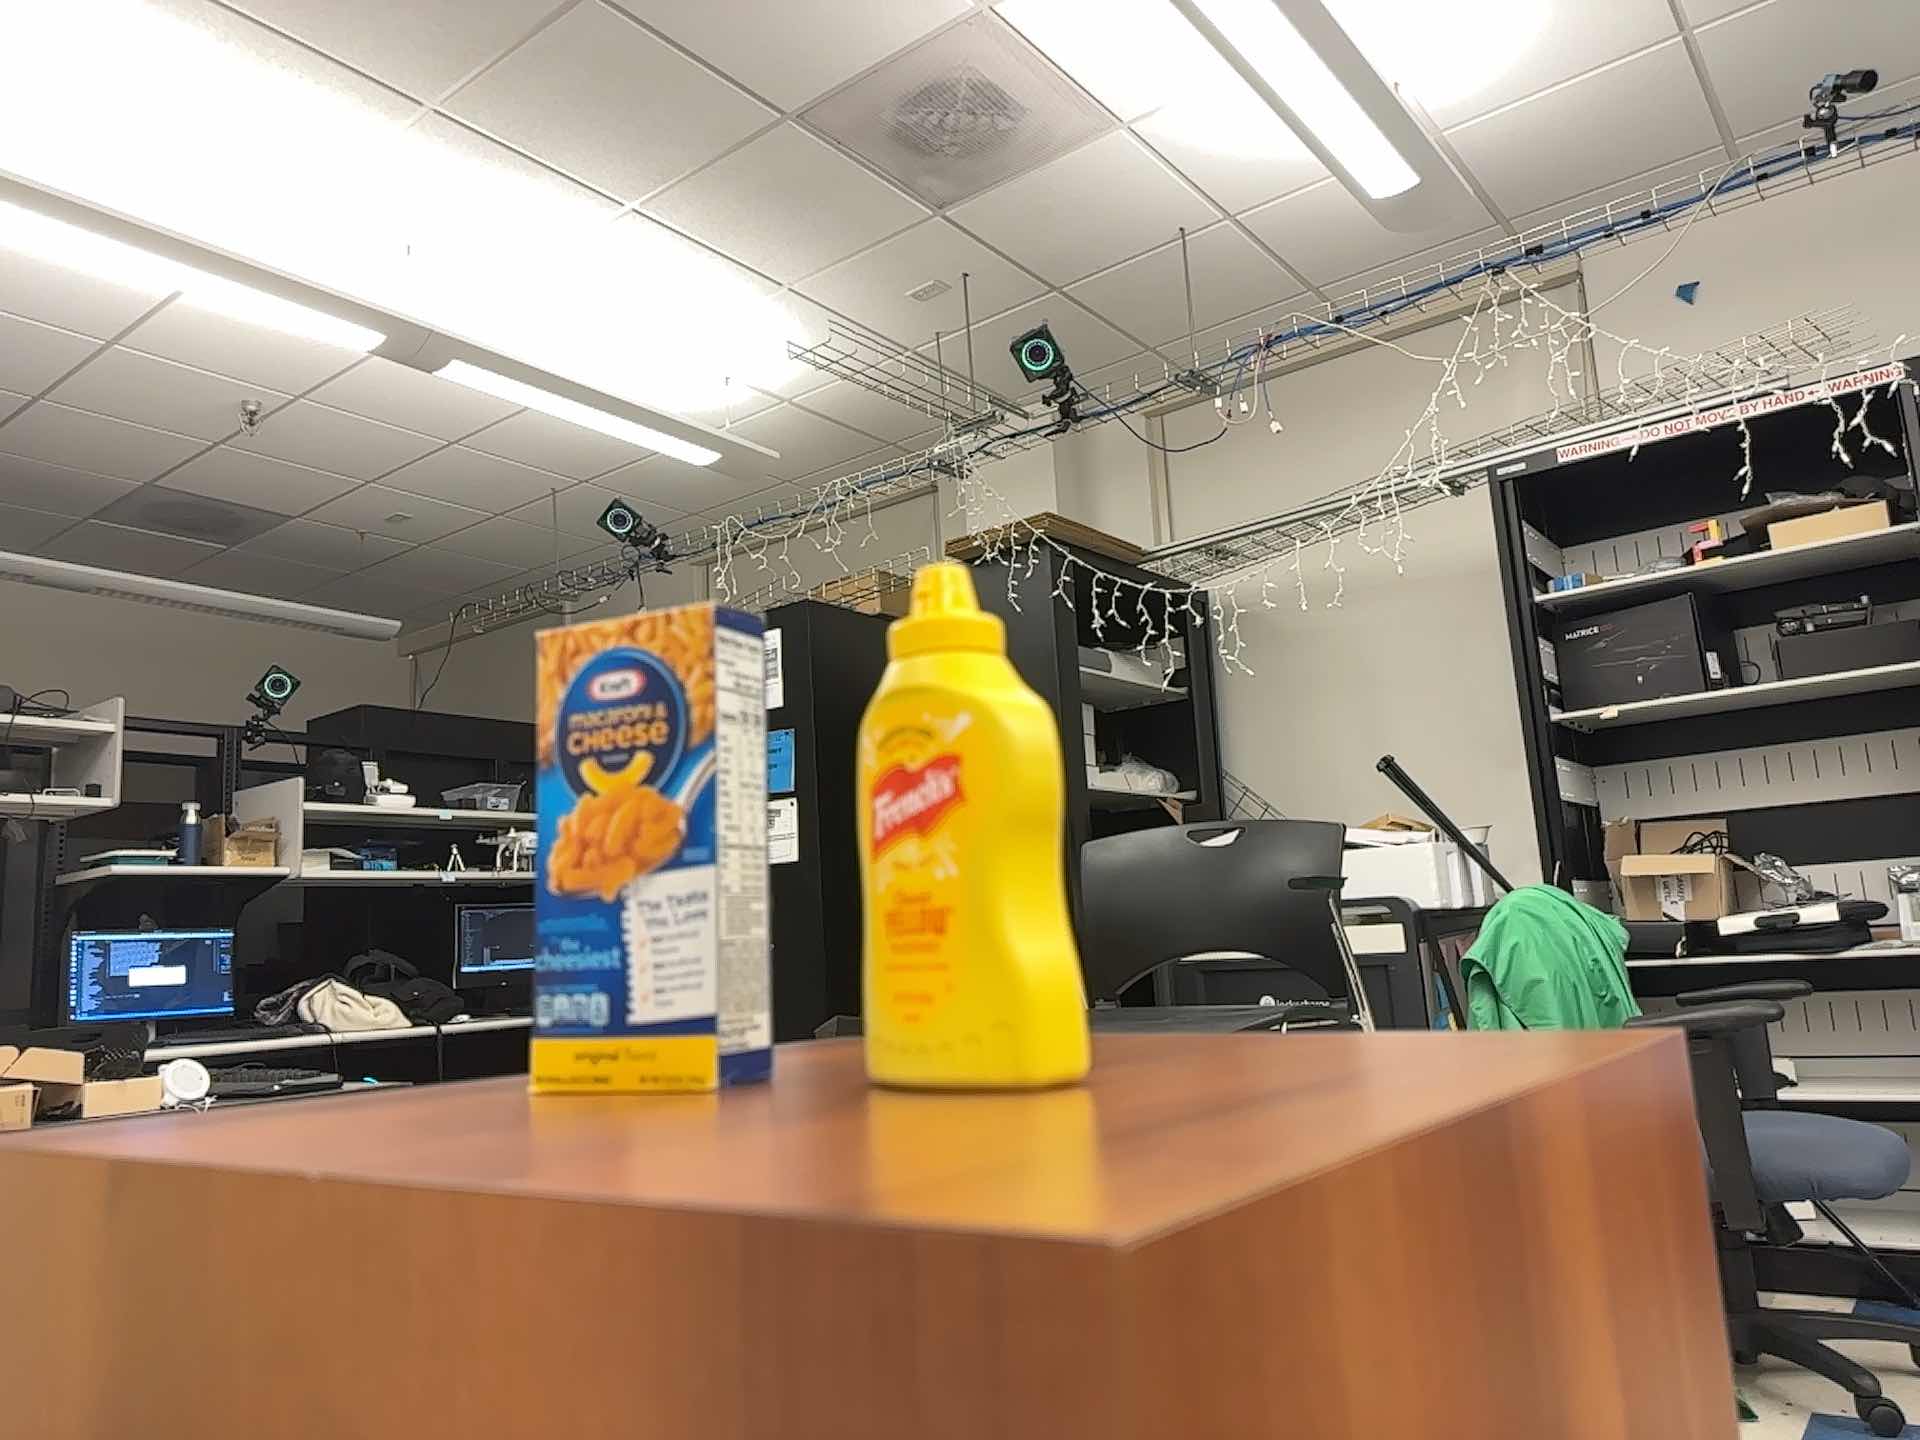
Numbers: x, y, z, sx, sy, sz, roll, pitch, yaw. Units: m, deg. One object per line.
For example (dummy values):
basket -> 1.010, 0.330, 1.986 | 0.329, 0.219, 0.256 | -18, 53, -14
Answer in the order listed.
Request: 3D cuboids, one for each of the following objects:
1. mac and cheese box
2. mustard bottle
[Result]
mac and cheese box -> -0.123, 0.052, 0.533 | 0.088, 0.181, 0.035 | -10, -11, 30
mustard bottle -> -0.001, 0.031, 0.461 | 0.054, 0.184, 0.092 | 3, -13, -35
